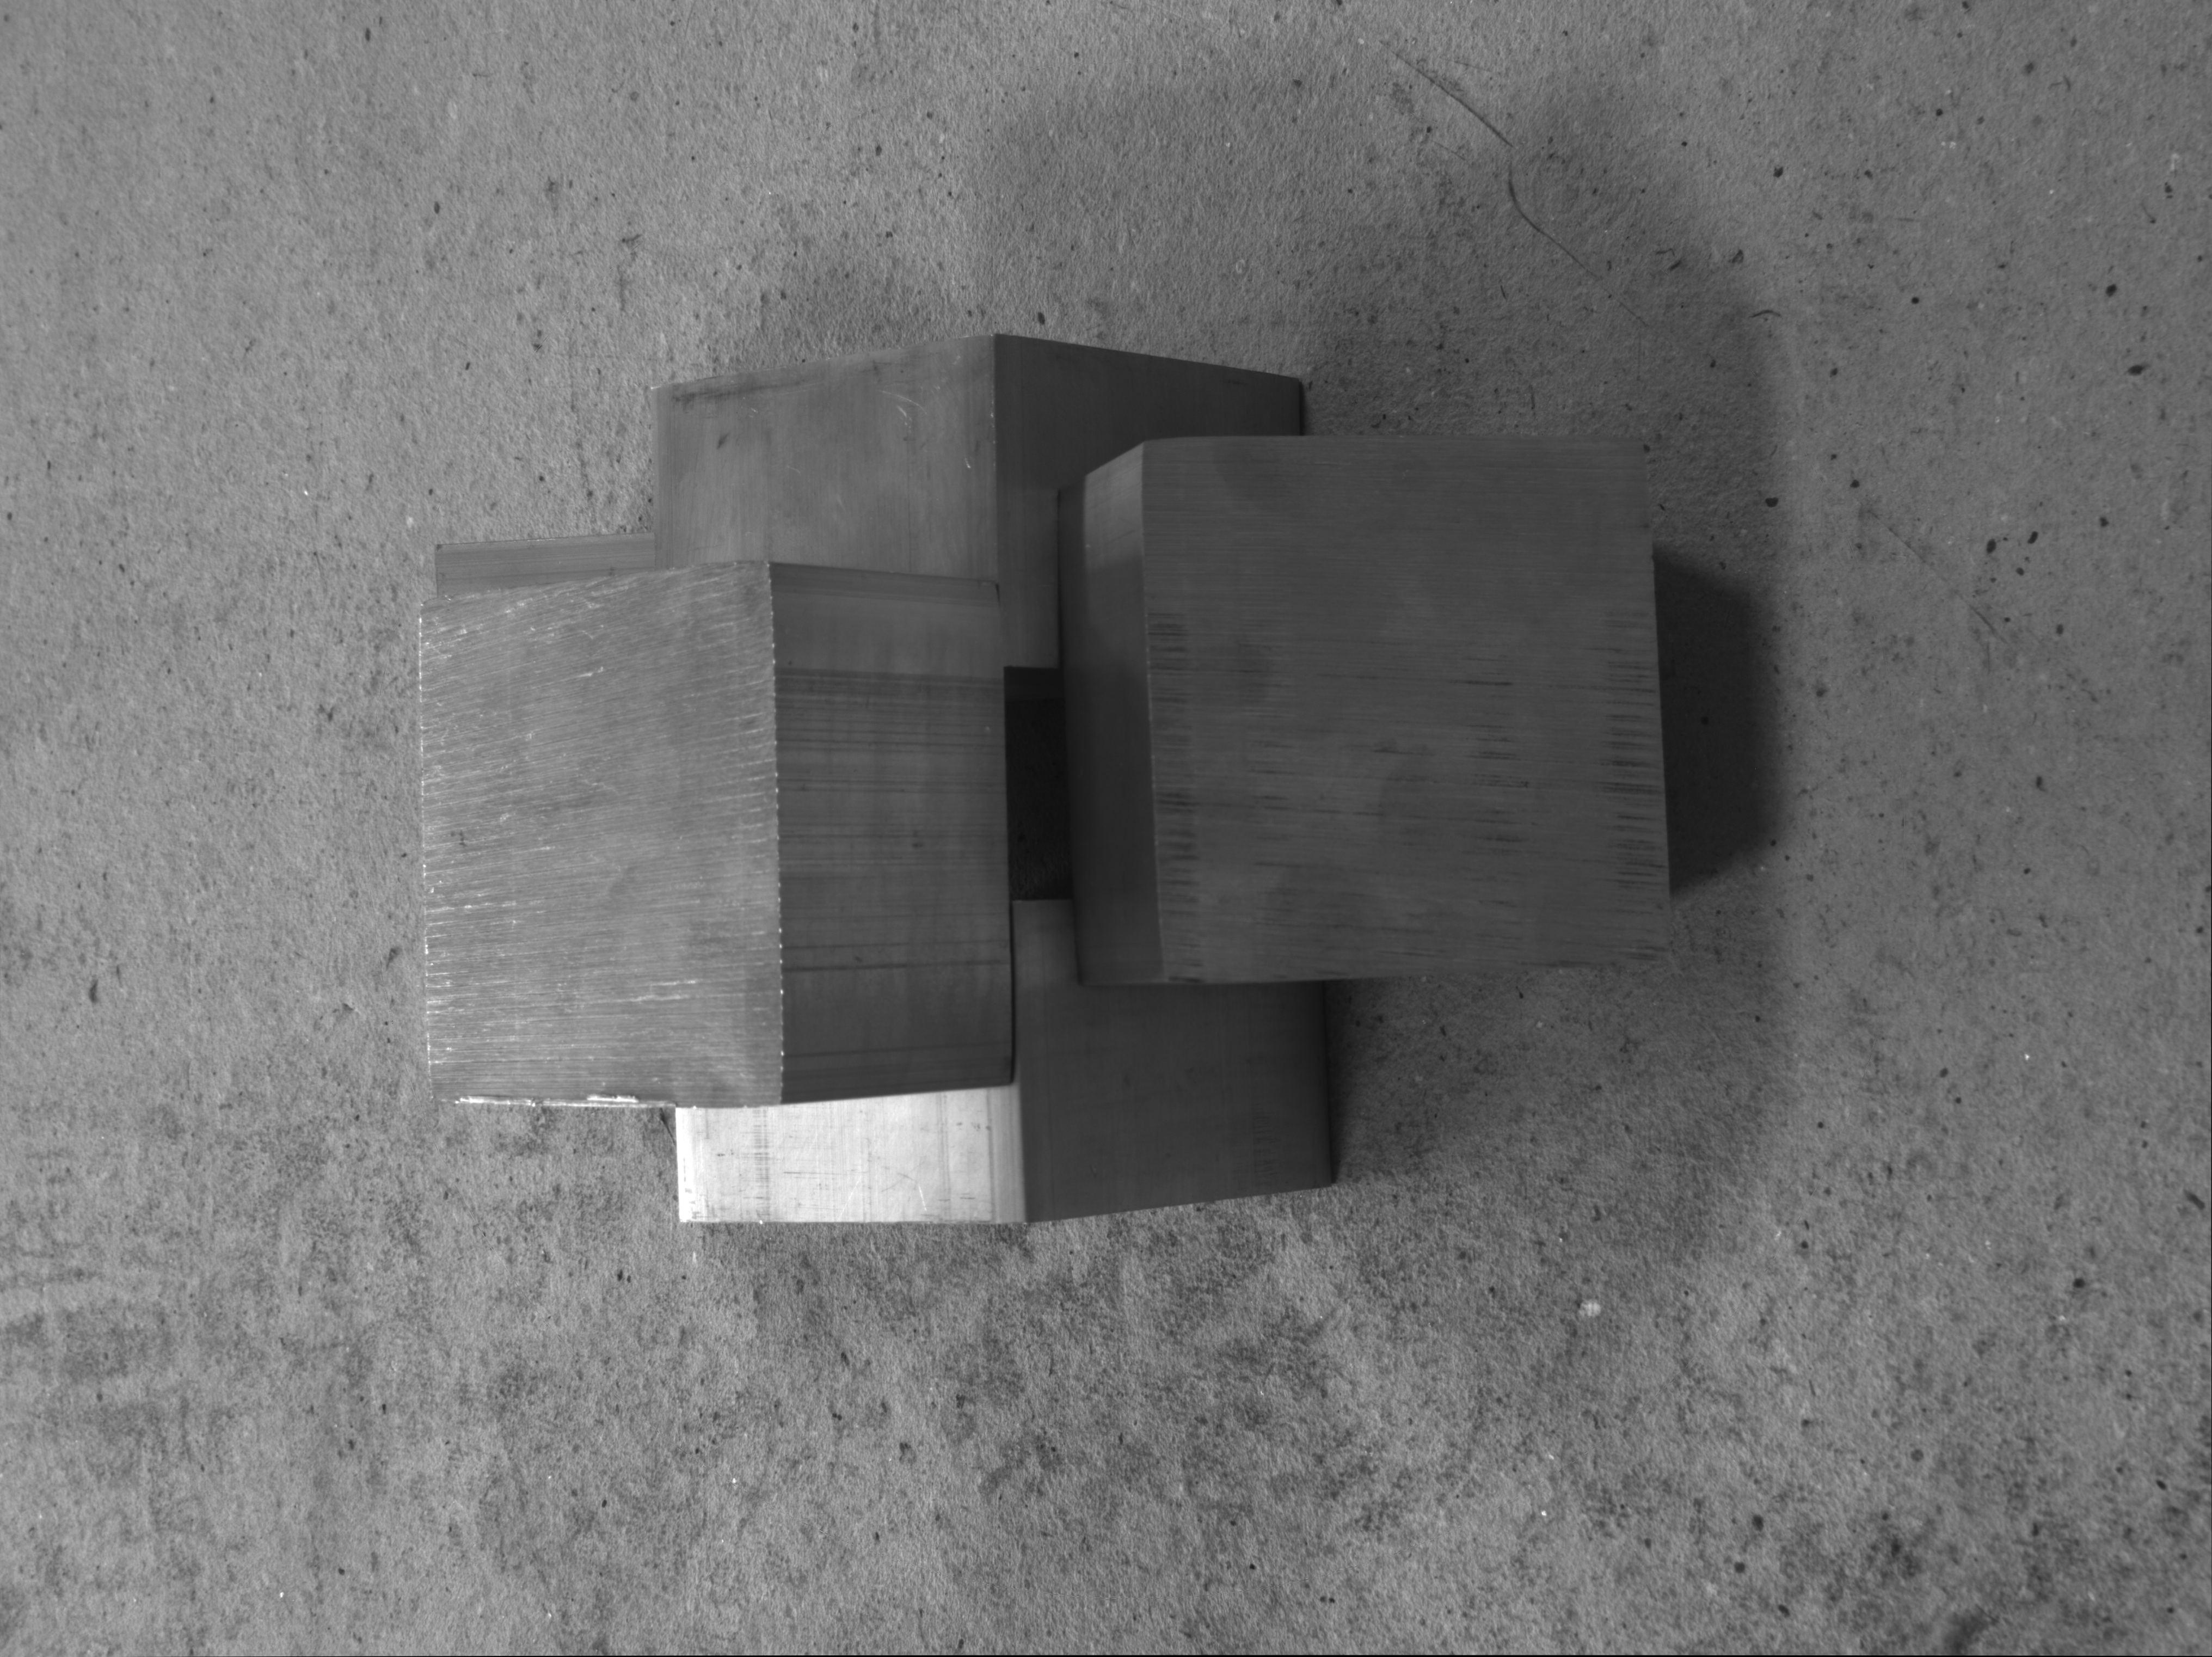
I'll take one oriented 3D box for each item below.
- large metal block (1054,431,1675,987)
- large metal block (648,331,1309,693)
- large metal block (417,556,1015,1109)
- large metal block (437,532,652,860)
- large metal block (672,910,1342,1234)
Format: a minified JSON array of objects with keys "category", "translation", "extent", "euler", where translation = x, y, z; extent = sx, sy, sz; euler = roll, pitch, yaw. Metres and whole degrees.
[{"category":"large metal block","translation":[0.039,-0.018,0.566],"extent":[0.050,0.080,0.080],"euler":[169,99,-74]},{"category":"large metal block","translation":[-0.021,-0.051,0.627],"extent":[0.080,0.080,0.050],"euler":[-3,88,40]},{"category":"large metal block","translation":[-0.062,0.002,0.576],"extent":[0.080,0.050,0.080],"euler":[-3,88,40]},{"category":"large metal block","translation":[-0.089,-0.009,0.675],"extent":[0.050,0.080,0.080],"euler":[-3,87,0]},{"category":"large metal block","translation":[-0.017,0.041,0.626],"extent":[0.080,0.080,0.050],"euler":[-5,87,41]}]
